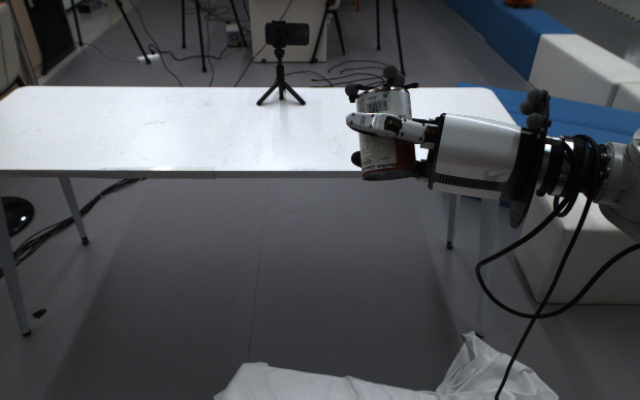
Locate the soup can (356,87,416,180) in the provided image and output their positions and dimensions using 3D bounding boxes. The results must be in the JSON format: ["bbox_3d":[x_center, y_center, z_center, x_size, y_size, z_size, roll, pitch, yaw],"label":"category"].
[{"bbox_3d":[0.082,-0.079,0.591,0.067,0.101,0.067,-5,-5,0],"label":"soup can"}]
